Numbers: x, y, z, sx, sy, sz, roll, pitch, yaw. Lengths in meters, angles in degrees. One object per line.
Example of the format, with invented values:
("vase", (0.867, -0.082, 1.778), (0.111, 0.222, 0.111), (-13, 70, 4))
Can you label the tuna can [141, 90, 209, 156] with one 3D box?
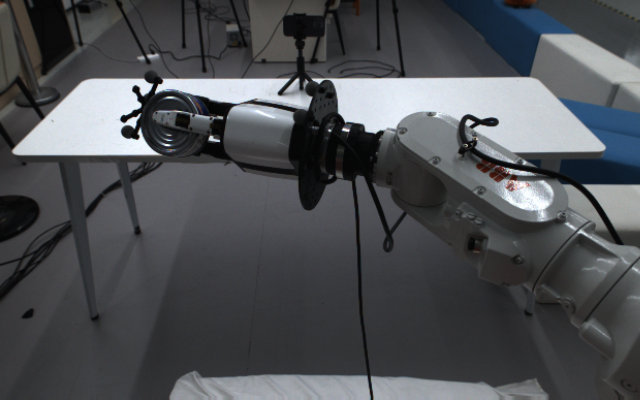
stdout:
("tuna can", (-0.187, -0.099, 0.630), (0.085, 0.085, 0.034), (10, 6, 11))
